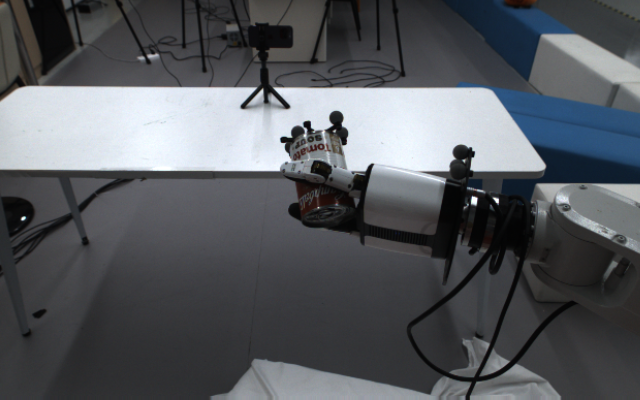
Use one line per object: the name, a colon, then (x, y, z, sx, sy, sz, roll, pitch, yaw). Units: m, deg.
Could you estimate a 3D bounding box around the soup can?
soup can: (0.004, -0.025, 0.591, 0.067, 0.067, 0.101, -6, 67, -12)
